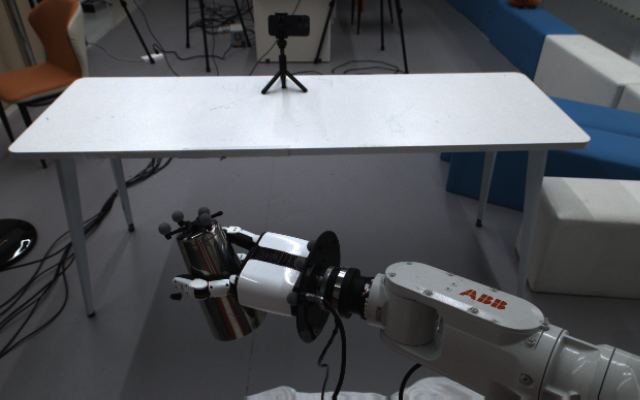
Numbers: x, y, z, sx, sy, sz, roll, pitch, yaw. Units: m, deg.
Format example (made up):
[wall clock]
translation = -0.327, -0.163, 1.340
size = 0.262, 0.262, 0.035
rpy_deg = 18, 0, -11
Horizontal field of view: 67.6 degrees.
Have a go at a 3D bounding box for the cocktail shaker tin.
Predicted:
[cocktail shaker tin]
translation = -0.153, 0.118, 0.735
size = 0.093, 0.170, 0.093
rpy_deg = -17, 20, 7
